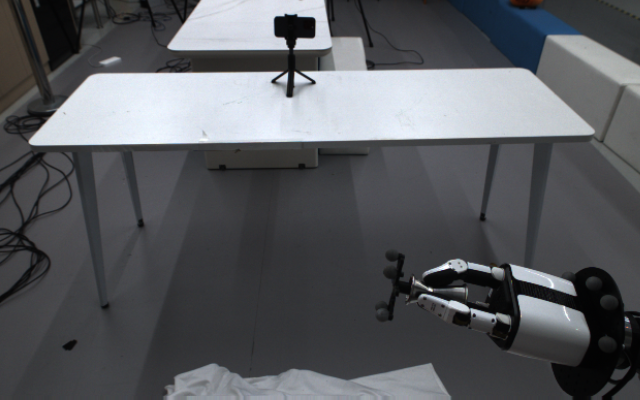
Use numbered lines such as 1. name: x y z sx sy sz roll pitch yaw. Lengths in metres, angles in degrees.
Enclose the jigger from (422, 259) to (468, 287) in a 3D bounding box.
1. jigger: 0.151 0.116 0.605 0.071 0.043 0.043 12 36 5
